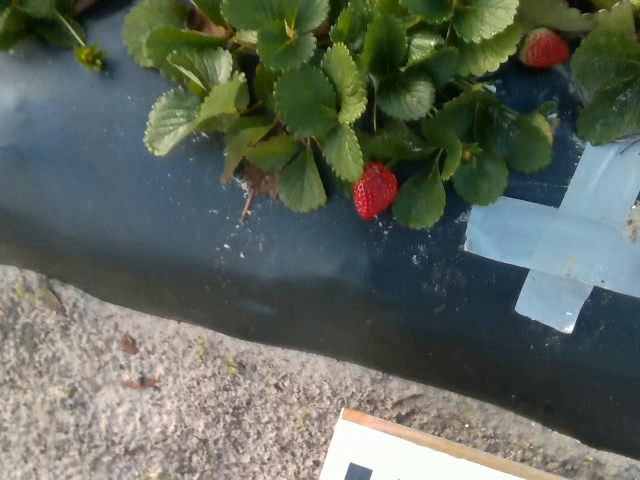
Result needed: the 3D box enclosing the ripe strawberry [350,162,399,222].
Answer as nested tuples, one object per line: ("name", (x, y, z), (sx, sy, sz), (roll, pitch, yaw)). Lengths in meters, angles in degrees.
("ripe strawberry", (0.019, -0.018, 0.226), (0.018, 0.023, 0.020), (14, -10, 24))
